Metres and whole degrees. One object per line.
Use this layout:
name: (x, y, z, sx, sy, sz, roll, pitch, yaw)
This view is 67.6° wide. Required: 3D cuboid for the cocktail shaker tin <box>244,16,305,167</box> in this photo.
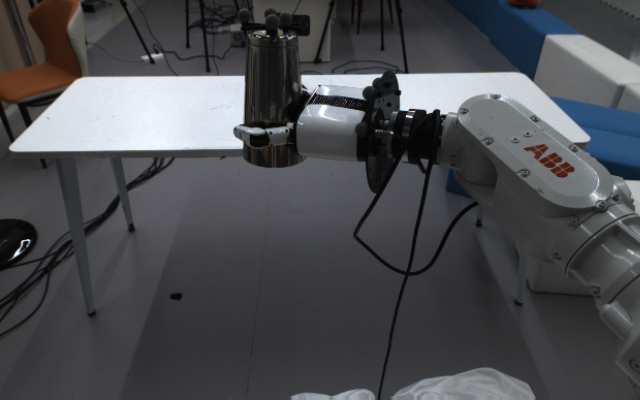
cocktail shaker tin: (-0.063, -0.141, 0.665, 0.093, 0.170, 0.093, 1, 28, -1)
